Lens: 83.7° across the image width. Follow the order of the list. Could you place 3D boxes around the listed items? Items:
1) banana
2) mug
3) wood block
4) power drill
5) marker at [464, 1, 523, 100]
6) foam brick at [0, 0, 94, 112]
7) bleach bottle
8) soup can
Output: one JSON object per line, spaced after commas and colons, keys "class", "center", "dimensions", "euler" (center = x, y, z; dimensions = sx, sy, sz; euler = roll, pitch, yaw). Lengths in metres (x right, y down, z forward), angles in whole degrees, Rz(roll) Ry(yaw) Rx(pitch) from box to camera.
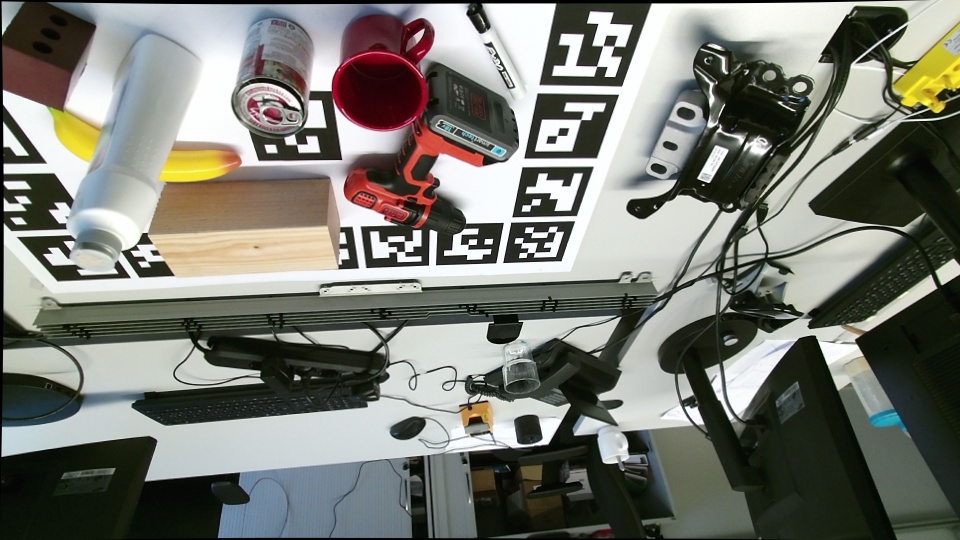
{"class": "banana", "center": [-0.375, -0.121, 0.631], "dimensions": [0.198, 0.038, 0.074], "euler": [9, 126, -19]}
{"class": "mug", "center": [-0.095, -0.202, 0.547], "dimensions": [0.117, 0.081, 0.093], "euler": [-35, 134, 26]}
{"class": "wood block", "center": [-0.300, -0.053, 0.700], "dimensions": [0.207, 0.090, 0.090], "euler": [-3, 141, -7]}
{"class": "power drill", "center": [-0.062, -0.129, 0.680], "dimensions": [0.185, 0.057, 0.187], "euler": [20, 136, -28]}
{"class": "marker", "center": [0.016, -0.236, 0.582], "dimensions": [0.020, 0.019, 0.121], "euler": [-23, 140, 14]}
{"class": "foam brick", "center": [-0.405, -0.199, 0.499], "dimensions": [0.053, 0.077, 0.051], "euler": [20, 136, -35]}
{"class": "bleach bottle", "center": [-0.320, -0.105, 0.493], "dimensions": [0.068, 0.249, 0.103], "euler": [17, 137, -31]}
{"class": "soup can", "center": [-0.202, -0.183, 0.527], "dimensions": [0.068, 0.101, 0.068], "euler": [-4, 147, -3]}
